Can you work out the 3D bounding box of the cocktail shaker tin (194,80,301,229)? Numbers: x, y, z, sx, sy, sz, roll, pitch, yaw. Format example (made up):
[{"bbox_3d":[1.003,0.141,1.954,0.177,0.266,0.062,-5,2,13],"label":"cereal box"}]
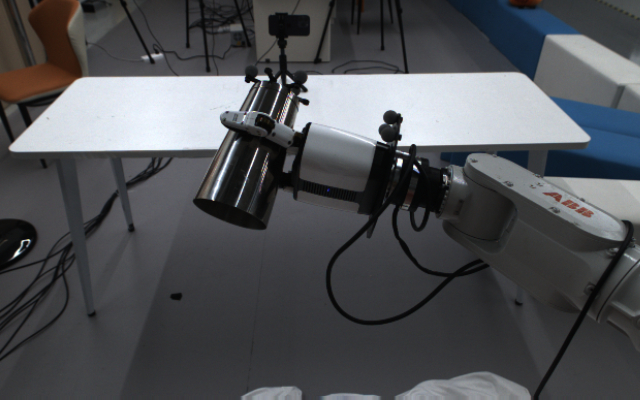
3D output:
[{"bbox_3d":[-0.083,-0.059,0.599,0.093,0.093,0.170,12,71,15],"label":"cocktail shaker tin"}]
